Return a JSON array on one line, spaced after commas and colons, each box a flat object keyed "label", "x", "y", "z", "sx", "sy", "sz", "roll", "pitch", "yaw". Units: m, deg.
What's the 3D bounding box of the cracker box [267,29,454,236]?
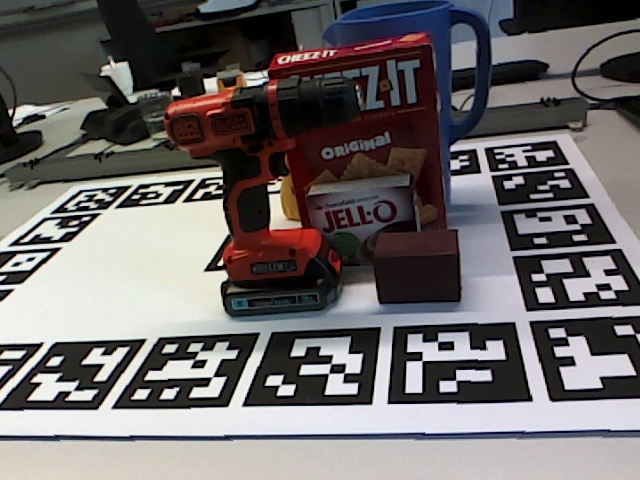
[{"label": "cracker box", "x": 0.050, "y": -0.099, "z": 0.667, "sx": 0.165, "sy": 0.213, "sz": 0.072, "roll": -7, "pitch": 25, "yaw": 14}]

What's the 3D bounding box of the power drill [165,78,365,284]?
[{"label": "power drill", "x": -0.040, "y": -0.054, "z": 0.583, "sx": 0.185, "sy": 0.186, "sz": 0.057, "roll": -4, "pitch": 24, "yaw": 13}]

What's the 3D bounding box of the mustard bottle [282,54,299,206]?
[{"label": "mustard bottle", "x": -0.015, "y": -0.136, "z": 0.778, "sx": 0.097, "sy": 0.191, "sz": 0.058, "roll": 2, "pitch": 31, "yaw": 26}]

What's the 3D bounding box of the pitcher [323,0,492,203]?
[{"label": "pitcher", "x": 0.112, "y": -0.156, "z": 0.740, "sx": 0.189, "sy": 0.242, "sz": 0.133, "roll": -3, "pitch": 28, "yaw": 21}]

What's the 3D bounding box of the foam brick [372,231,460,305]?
[{"label": "foam brick", "x": 0.093, "y": 0.028, "z": 0.596, "sx": 0.078, "sy": 0.051, "sz": 0.053, "roll": -3, "pitch": 30, "yaw": 16}]

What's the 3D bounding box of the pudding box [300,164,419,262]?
[{"label": "pudding box", "x": 0.043, "y": -0.028, "z": 0.651, "sx": 0.114, "sy": 0.090, "sz": 0.038, "roll": -6, "pitch": 26, "yaw": 17}]
